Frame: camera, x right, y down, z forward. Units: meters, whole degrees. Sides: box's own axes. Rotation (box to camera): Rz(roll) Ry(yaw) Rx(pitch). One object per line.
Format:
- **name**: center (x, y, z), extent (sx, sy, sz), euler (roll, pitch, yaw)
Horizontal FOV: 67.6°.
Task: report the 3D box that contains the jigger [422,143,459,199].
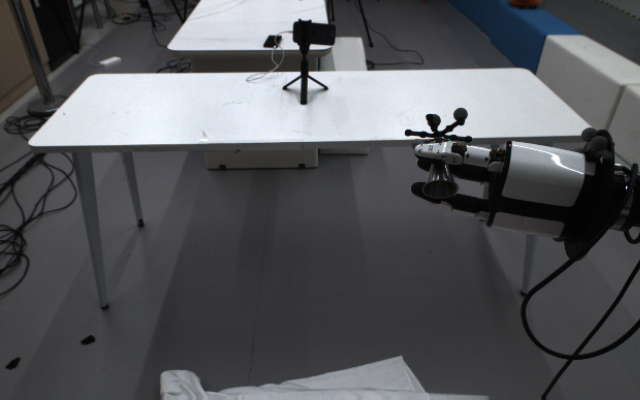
- **jigger**: center (0.152, -0.043, 0.624), extent (0.043, 0.043, 0.071), euler (4, 61, 3)
